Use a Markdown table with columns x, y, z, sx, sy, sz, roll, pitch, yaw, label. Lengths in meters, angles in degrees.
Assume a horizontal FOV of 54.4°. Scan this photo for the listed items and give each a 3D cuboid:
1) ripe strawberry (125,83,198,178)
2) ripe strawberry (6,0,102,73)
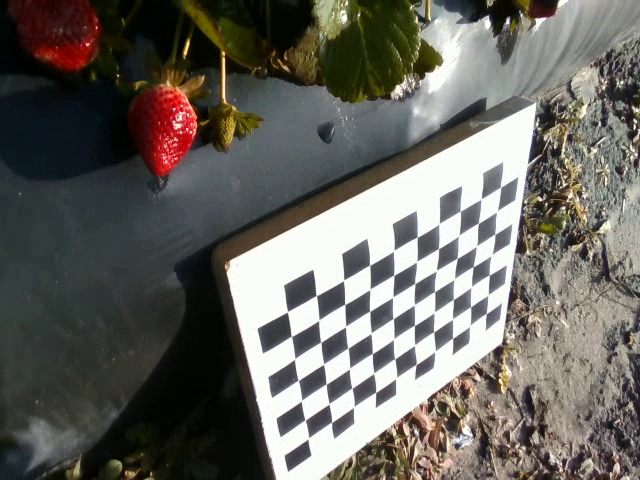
| x | y | z | sx | sy | sz | roll | pitch | yaw | label |
| --- | --- | --- | --- | --- | --- | --- | --- | --- | --- |
| -0.083 | -0.058 | 0.328 | 0.038 | 0.053 | 0.043 | -19 | -28 | 35 | ripe strawberry |
| -0.131 | -0.105 | 0.308 | 0.039 | 0.048 | 0.054 | 18 | 25 | 23 | ripe strawberry |
